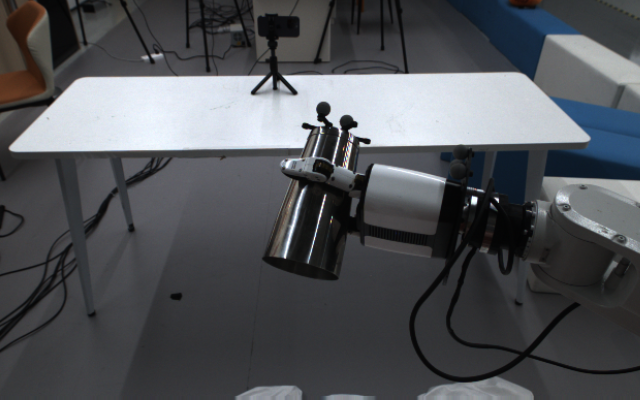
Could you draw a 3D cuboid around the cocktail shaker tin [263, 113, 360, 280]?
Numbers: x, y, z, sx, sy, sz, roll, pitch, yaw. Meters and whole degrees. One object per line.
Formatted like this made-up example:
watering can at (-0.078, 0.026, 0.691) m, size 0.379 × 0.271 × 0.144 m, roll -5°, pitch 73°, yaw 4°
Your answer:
cocktail shaker tin at (-0.001, 0.002, 0.581) m, size 0.093 × 0.093 × 0.170 m, roll 11°, pitch 71°, yaw 12°
